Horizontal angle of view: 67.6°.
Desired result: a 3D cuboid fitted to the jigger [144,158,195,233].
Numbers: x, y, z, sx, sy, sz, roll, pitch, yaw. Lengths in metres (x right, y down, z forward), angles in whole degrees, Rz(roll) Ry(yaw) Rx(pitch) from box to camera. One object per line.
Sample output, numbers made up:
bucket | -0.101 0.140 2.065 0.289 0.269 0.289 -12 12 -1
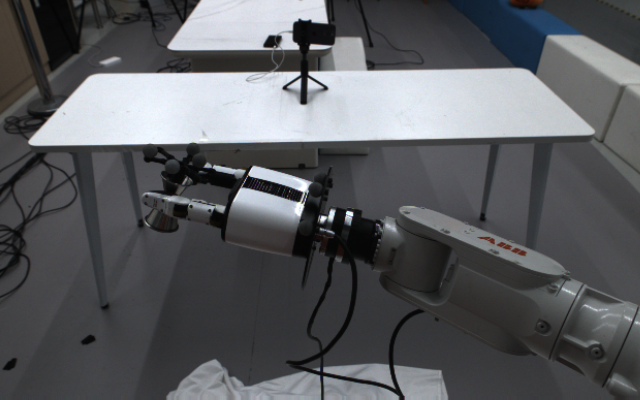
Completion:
jigger | -0.189 0.002 0.606 0.043 0.071 0.043 22 19 -8
